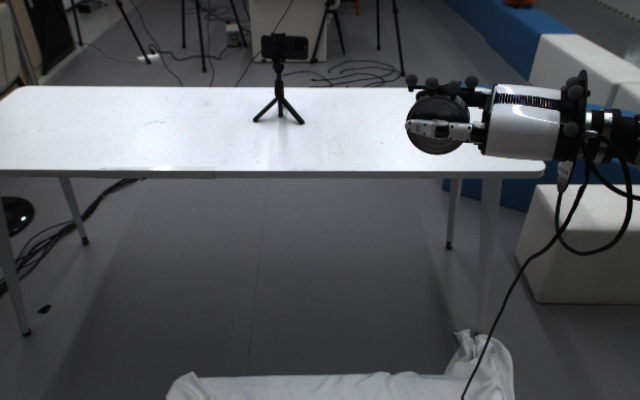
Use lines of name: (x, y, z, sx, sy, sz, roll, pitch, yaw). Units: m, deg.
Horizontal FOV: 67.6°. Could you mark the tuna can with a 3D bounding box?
tuna can: (0.167, -0.113, 0.681, 0.085, 0.085, 0.034, 13, 30, 16)
